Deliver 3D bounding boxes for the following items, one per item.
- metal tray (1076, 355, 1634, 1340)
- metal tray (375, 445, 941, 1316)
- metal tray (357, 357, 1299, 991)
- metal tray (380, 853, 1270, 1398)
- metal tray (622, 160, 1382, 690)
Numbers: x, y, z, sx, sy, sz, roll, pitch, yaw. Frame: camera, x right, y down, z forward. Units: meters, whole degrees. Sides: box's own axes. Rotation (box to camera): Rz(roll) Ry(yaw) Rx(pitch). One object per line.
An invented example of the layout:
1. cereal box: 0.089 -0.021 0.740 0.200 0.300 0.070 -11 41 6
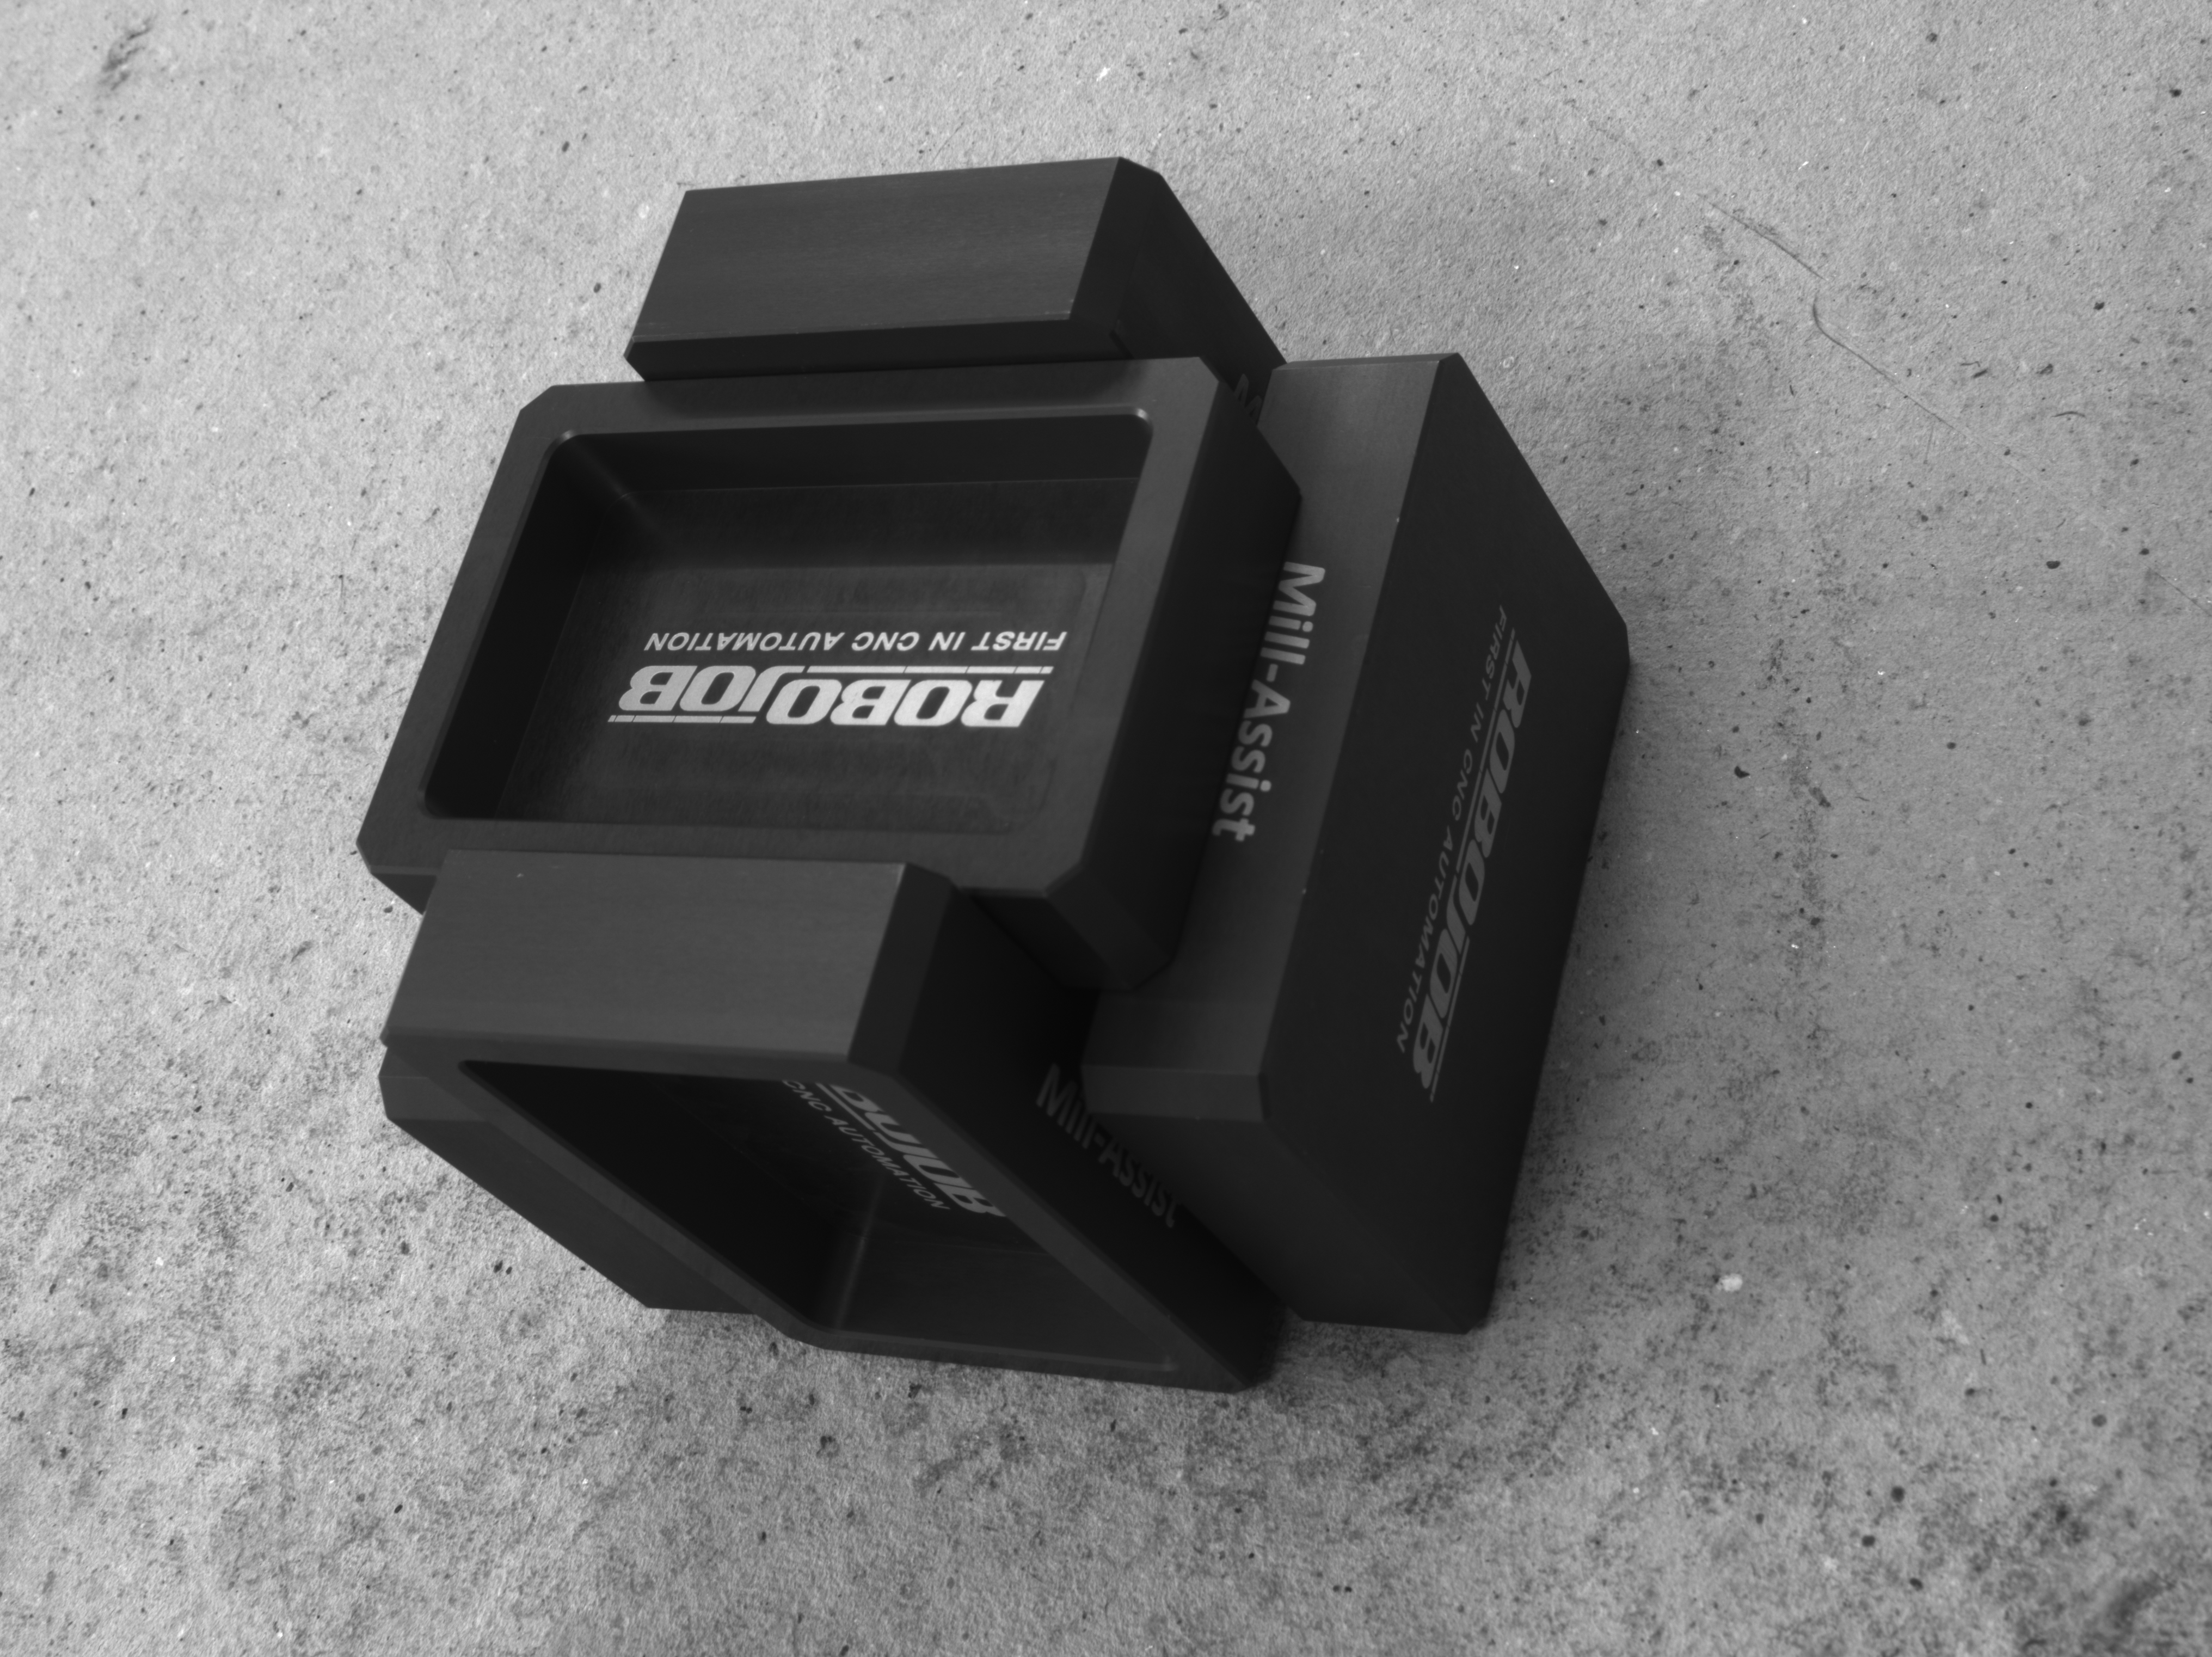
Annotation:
1. metal tray: 0.043 0.003 0.578 0.030 0.090 0.130 1 61 30
2. metal tray: -0.071 0.008 0.637 0.030 0.090 0.130 0 61 28
3. metal tray: -0.043 -0.024 0.564 0.130 0.030 0.090 1 63 29
4. metal tray: -0.038 0.048 0.568 0.090 0.130 0.030 1 63 29
5. metal tray: -0.009 -0.058 0.618 0.090 0.130 0.030 2 62 29
